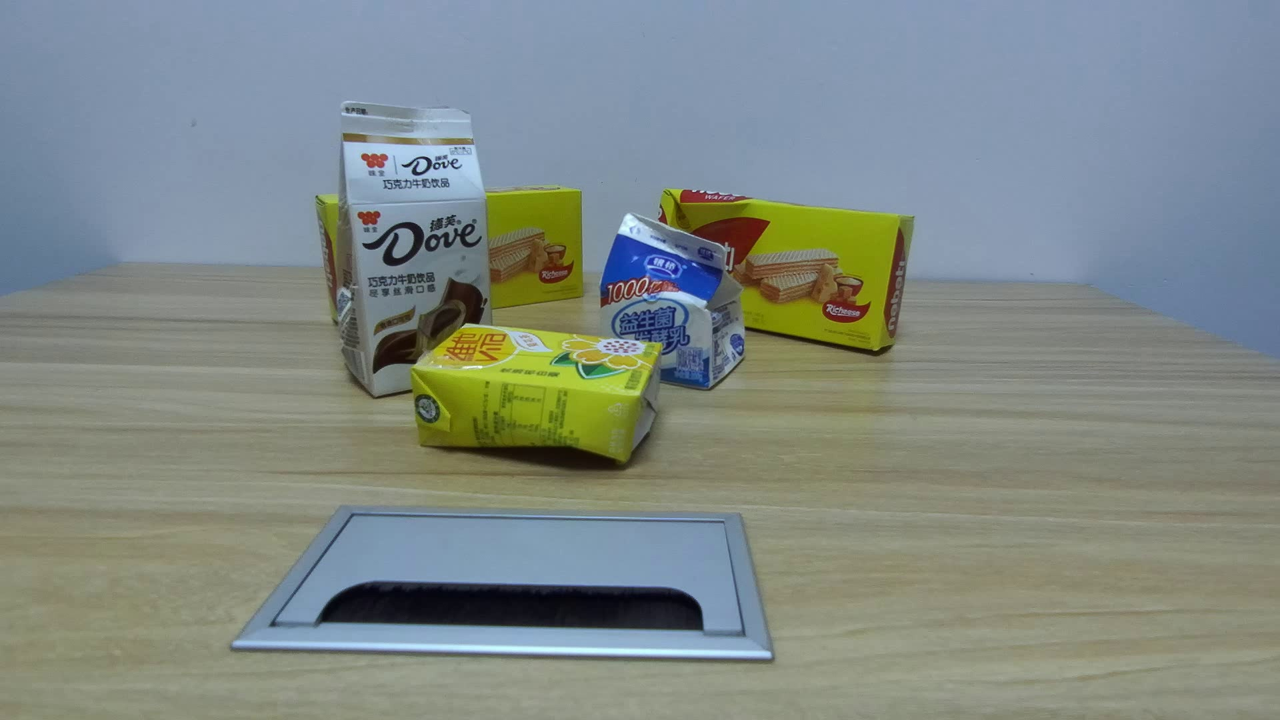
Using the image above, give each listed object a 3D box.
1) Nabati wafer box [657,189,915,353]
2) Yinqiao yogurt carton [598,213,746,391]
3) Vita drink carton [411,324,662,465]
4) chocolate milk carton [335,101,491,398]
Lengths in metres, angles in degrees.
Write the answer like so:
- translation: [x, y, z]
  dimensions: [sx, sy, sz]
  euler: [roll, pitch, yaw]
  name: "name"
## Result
- translation: [0.094, -0.071, 0.533]
  dimensions: [0.202, 0.096, 0.042]
  euler: [15, 12, 31]
  name: "Nabati wafer box"
- translation: [0.021, -0.042, 0.439]
  dimensions: [0.083, 0.093, 0.077]
  euler: [10, 21, 23]
  name: "Yinqiao yogurt carton"
- translation: [-0.049, 0.018, 0.347]
  dimensions: [0.108, 0.043, 0.076]
  euler: [6, 23, 9]
  name: "Vita drink carton"
- translation: [-0.136, -0.067, 0.408]
  dimensions: [0.085, 0.155, 0.072]
  euler: [-12, 25, -33]
  name: "chocolate milk carton"
